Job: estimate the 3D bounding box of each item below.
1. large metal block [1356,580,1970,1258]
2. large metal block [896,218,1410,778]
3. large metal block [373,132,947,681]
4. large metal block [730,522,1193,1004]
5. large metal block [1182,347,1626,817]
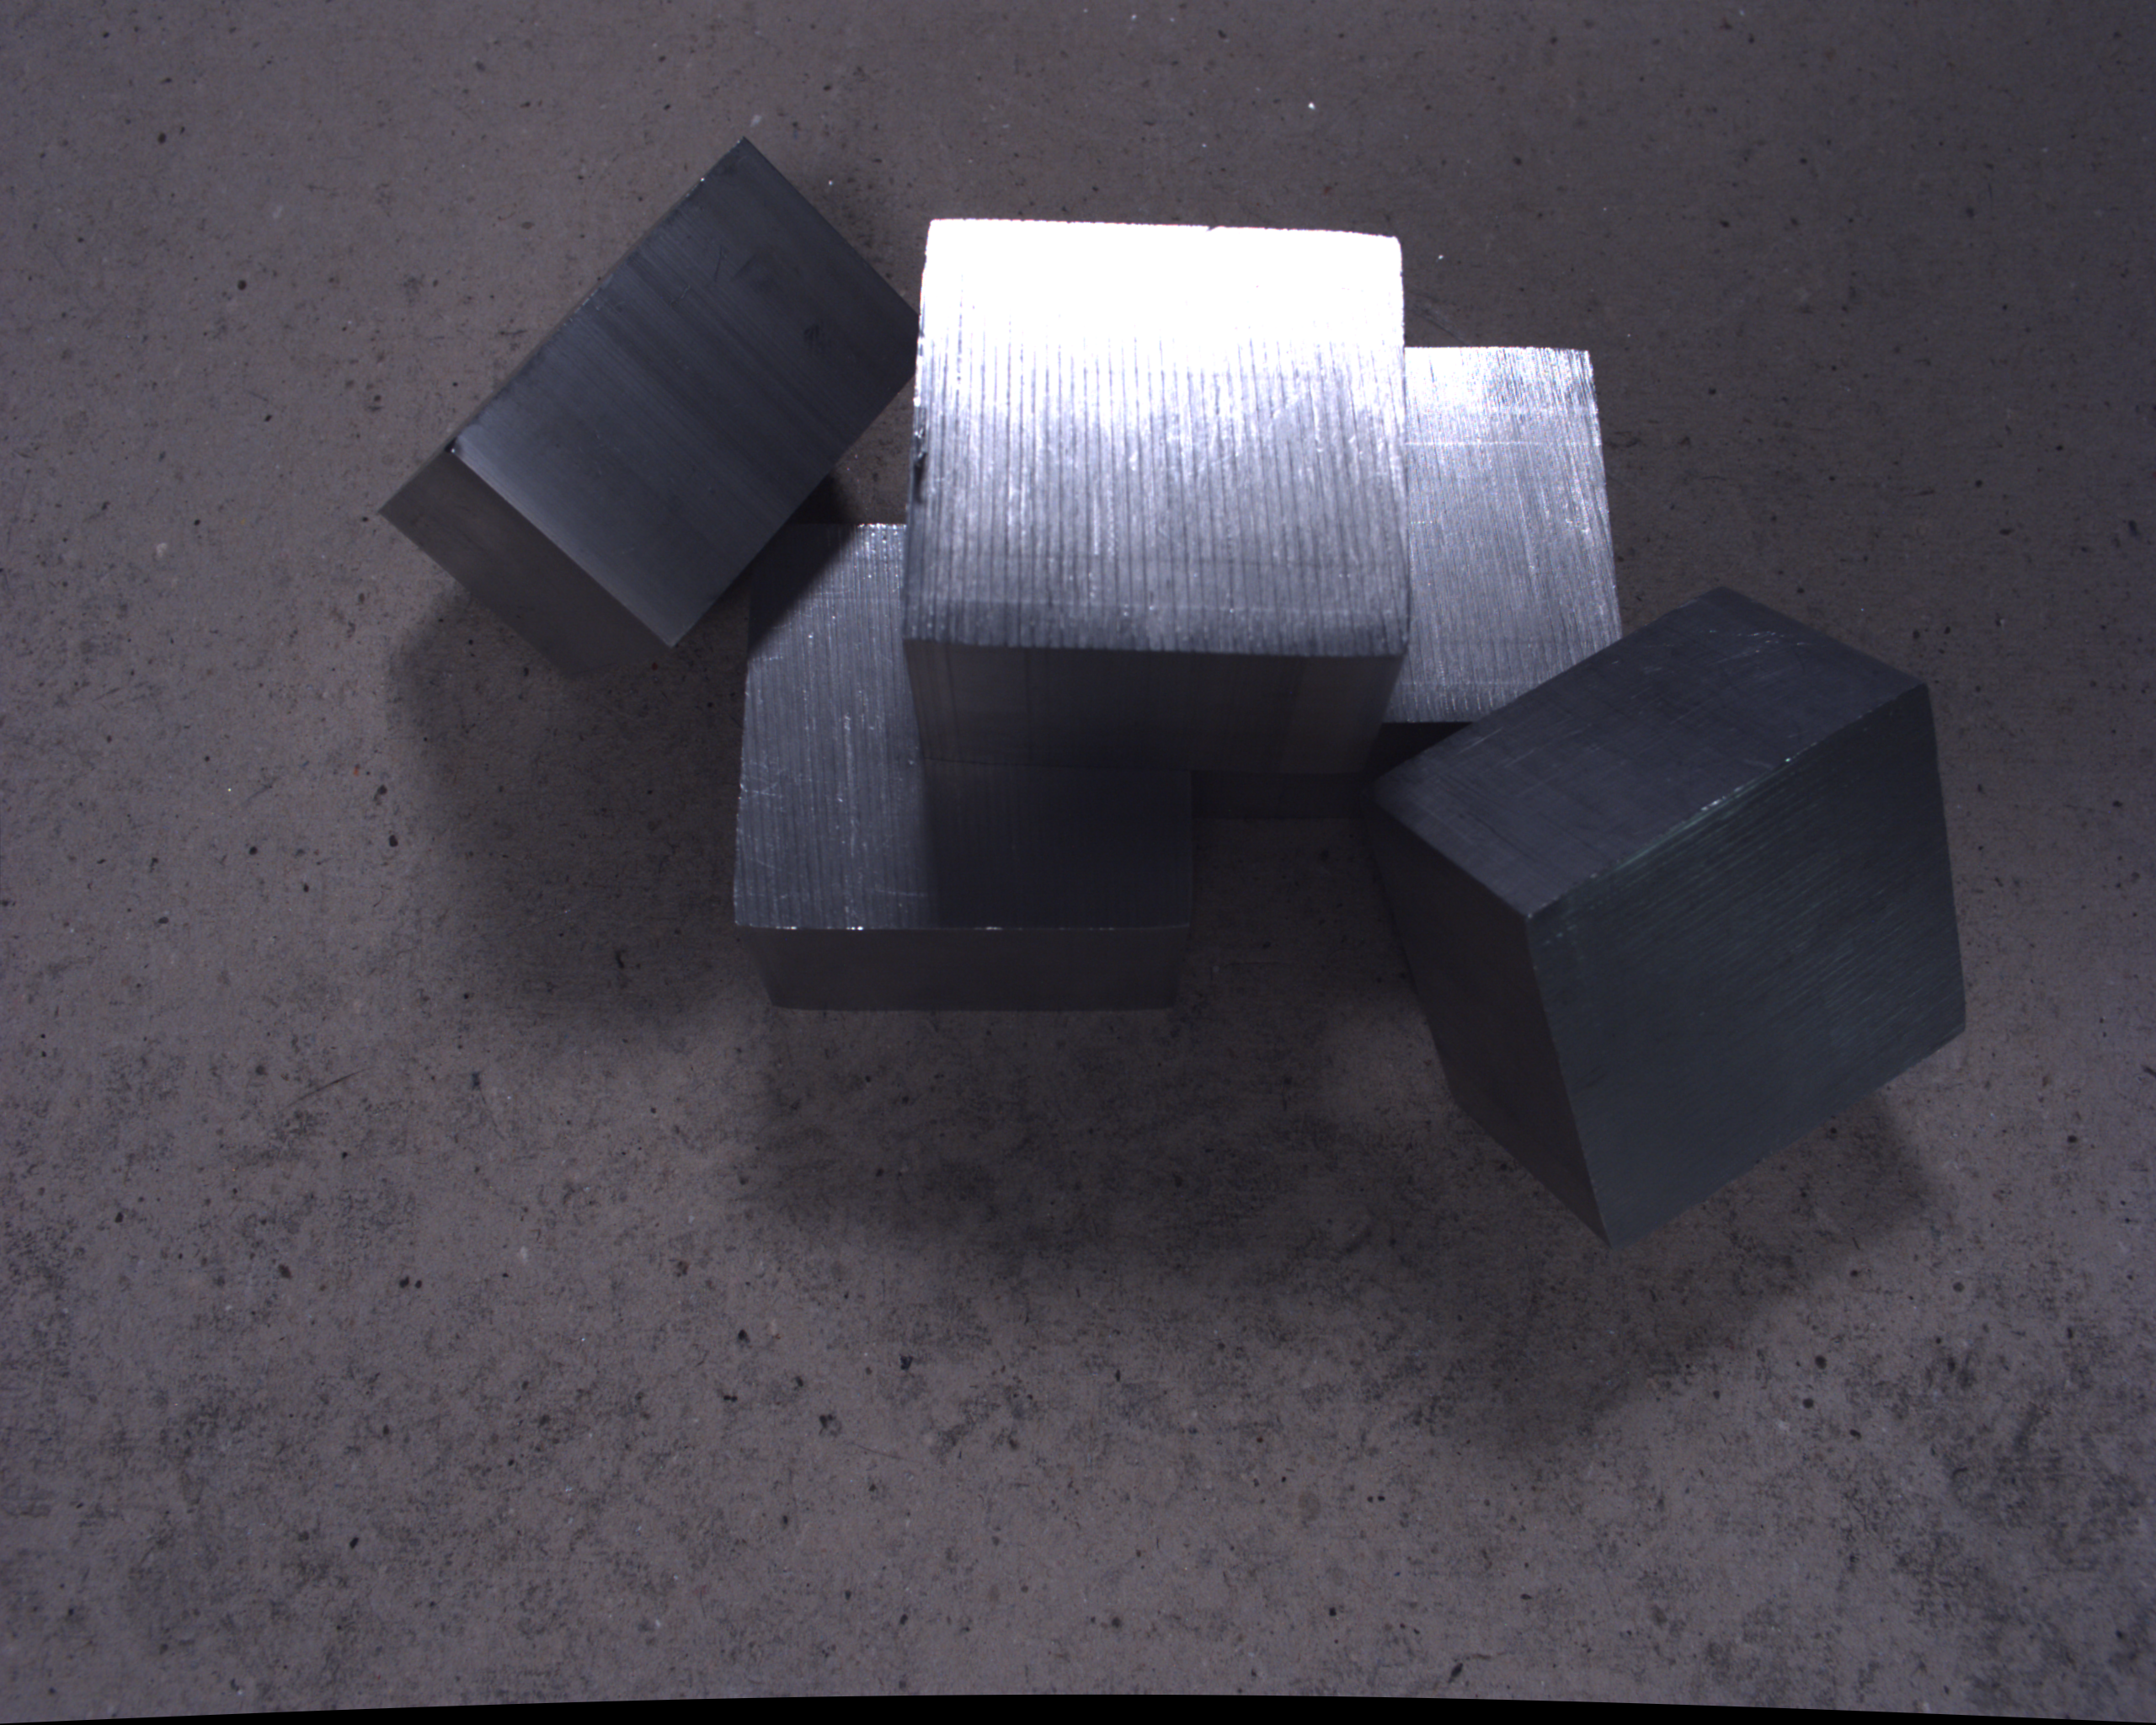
[{"bbox_3d":[0.106,0.009,0.371,0.080,0.080,0.050,-30,35,-11],"label":"large metal block"},{"bbox_3d":[0.013,-0.062,0.364,0.081,0.050,0.080,2,70,0],"label":"large metal block"},{"bbox_3d":[-0.083,-0.084,0.402,0.050,0.080,0.080,44,73,-21],"label":"large metal block"},{"bbox_3d":[-0.020,-0.018,0.400,0.081,0.050,0.080,0,70,0],"label":"large metal block"},{"bbox_3d":[0.060,-0.055,0.417,0.081,0.050,0.080,0,70,0],"label":"large metal block"}]
